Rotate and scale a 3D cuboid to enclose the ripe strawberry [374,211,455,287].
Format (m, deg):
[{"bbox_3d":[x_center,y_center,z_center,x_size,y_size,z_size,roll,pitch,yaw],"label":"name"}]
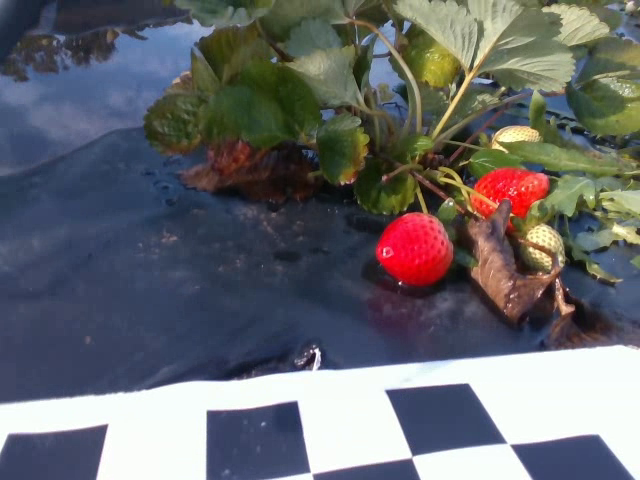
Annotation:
[{"bbox_3d":[0.037,0.003,0.253,0.035,0.029,0.043,25,30,37],"label":"ripe strawberry"}]

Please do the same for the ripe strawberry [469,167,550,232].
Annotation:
[{"bbox_3d":[0.101,-0.027,0.310,0.039,0.031,0.048,-9,-14,-22],"label":"ripe strawberry"}]
